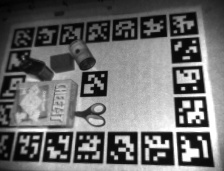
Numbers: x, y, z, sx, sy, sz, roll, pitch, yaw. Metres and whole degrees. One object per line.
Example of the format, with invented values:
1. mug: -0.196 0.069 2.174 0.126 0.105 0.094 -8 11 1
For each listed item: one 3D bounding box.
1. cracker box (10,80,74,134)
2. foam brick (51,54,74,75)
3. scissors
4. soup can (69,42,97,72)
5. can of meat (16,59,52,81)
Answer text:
1. cracker box: -0.247 0.078 0.764 0.212 0.073 0.163 -8 70 13
2. foam brick: -0.193 -0.080 0.831 0.078 0.052 0.052 -12 71 8
3. scissors: -0.128 0.117 0.761 0.202 0.016 0.087 -7 72 10
4. soup can: -0.113 -0.110 0.822 0.068 0.068 0.101 -37 64 -1
5. can of meat: -0.291 -0.052 0.822 0.101 0.084 0.058 12 76 15
